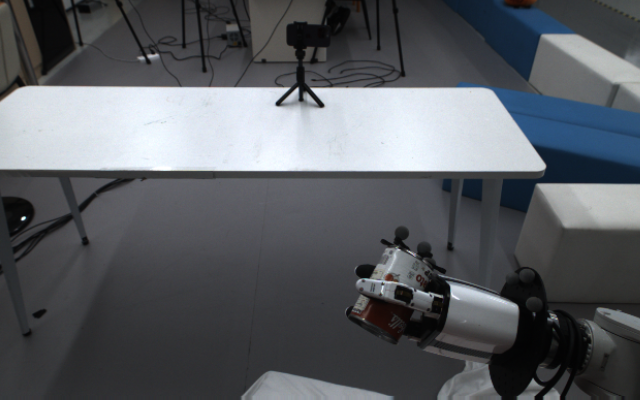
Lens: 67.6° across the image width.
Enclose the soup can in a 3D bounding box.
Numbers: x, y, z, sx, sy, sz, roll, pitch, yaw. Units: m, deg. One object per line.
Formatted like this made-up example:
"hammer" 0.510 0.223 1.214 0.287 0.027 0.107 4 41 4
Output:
"soup can" 0.091 0.115 0.596 0.067 0.067 0.101 23 72 27
